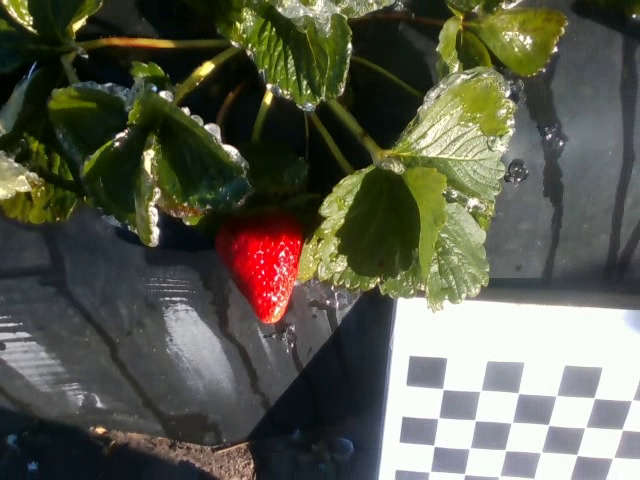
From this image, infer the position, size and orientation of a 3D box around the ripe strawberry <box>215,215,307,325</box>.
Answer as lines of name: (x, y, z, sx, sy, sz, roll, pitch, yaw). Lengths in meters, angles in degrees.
ripe strawberry: (-0.024, 0.013, 0.269, 0.041, 0.053, 0.047, -3, -13, 4)
